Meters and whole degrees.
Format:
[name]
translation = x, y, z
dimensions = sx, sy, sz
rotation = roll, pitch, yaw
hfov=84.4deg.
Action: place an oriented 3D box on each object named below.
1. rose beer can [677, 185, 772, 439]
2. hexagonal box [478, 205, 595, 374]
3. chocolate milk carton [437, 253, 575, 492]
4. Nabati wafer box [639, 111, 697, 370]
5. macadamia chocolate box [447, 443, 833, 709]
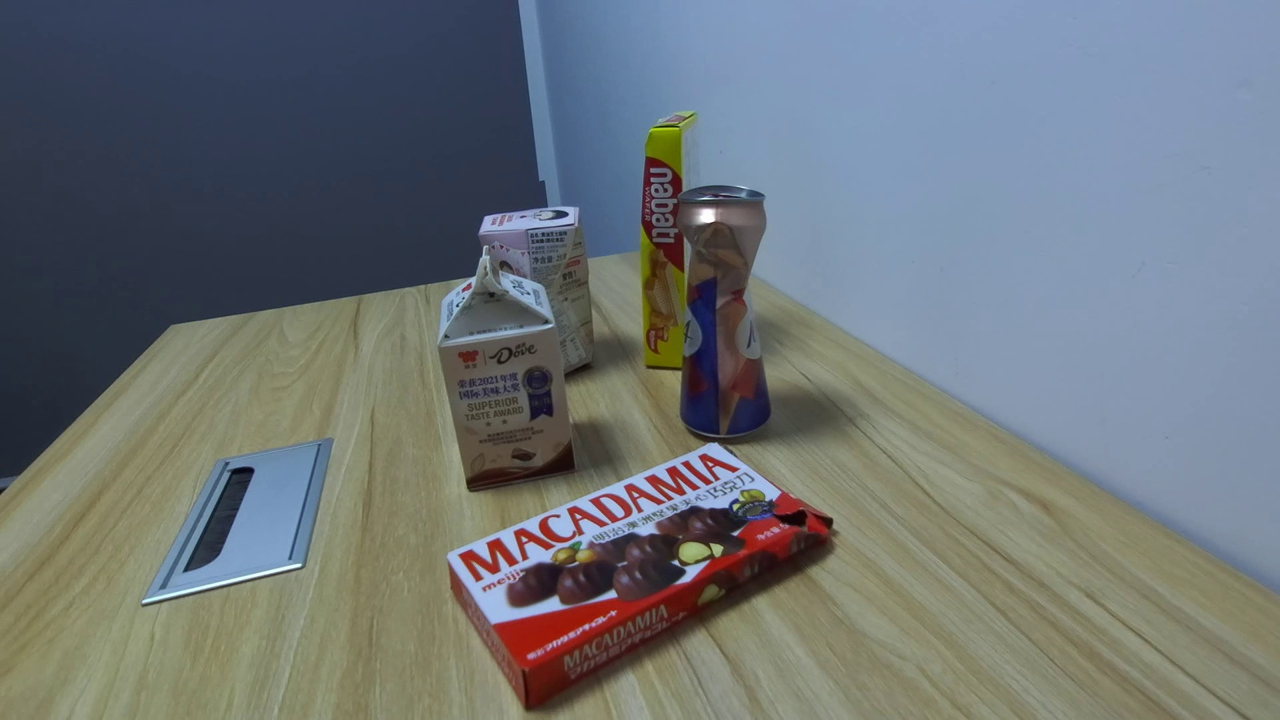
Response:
[rose beer can]
translation = 0.057, -0.030, 0.478
dimensions = 0.065, 0.167, 0.076
rotation = 3, 22, 16
[hexagonal box]
translation = -0.087, -0.059, 0.617
dimensions = 0.093, 0.135, 0.088
rotation = -23, 29, -34
[chocolate milk carton]
translation = -0.089, -0.001, 0.462
dimensions = 0.074, 0.148, 0.075
rotation = -10, 26, -10
[Nabati wafer box]
translation = 0.027, -0.103, 0.610
dimensions = 0.042, 0.203, 0.096
rotation = 4, 29, 14
[macadamia chocolate box]
translation = 0.005, 0.099, 0.371
dimensions = 0.187, 0.027, 0.102
rotation = -19, 29, -29
